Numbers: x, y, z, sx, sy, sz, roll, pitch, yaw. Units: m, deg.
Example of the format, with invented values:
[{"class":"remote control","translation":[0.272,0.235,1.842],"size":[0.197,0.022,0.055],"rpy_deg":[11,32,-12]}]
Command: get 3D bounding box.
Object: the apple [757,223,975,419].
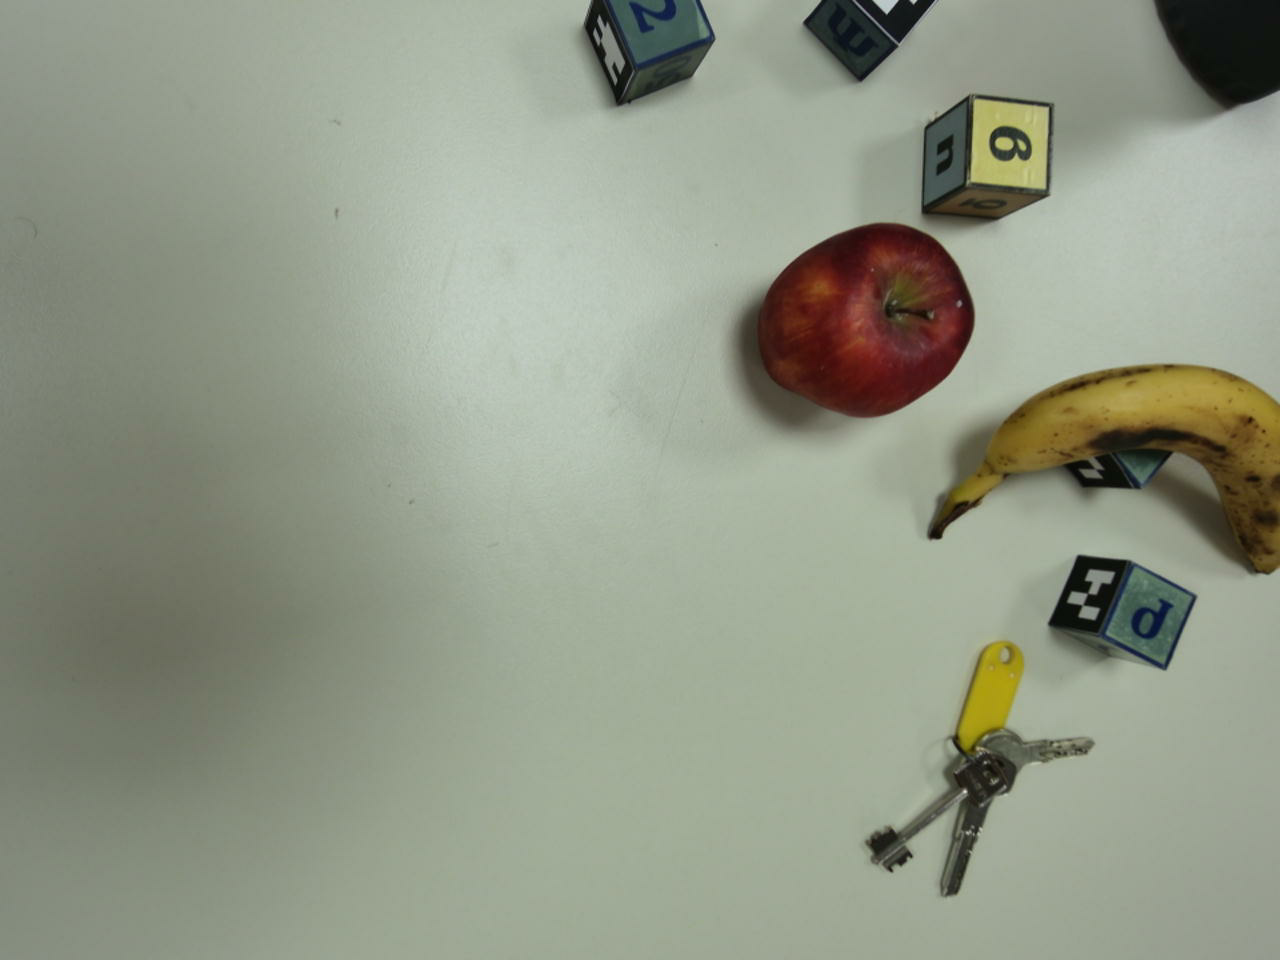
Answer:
[{"class":"apple","translation":[0.093,-0.065,0.409],"size":[0.083,0.090,0.083],"rpy_deg":[0,90,-11]}]
